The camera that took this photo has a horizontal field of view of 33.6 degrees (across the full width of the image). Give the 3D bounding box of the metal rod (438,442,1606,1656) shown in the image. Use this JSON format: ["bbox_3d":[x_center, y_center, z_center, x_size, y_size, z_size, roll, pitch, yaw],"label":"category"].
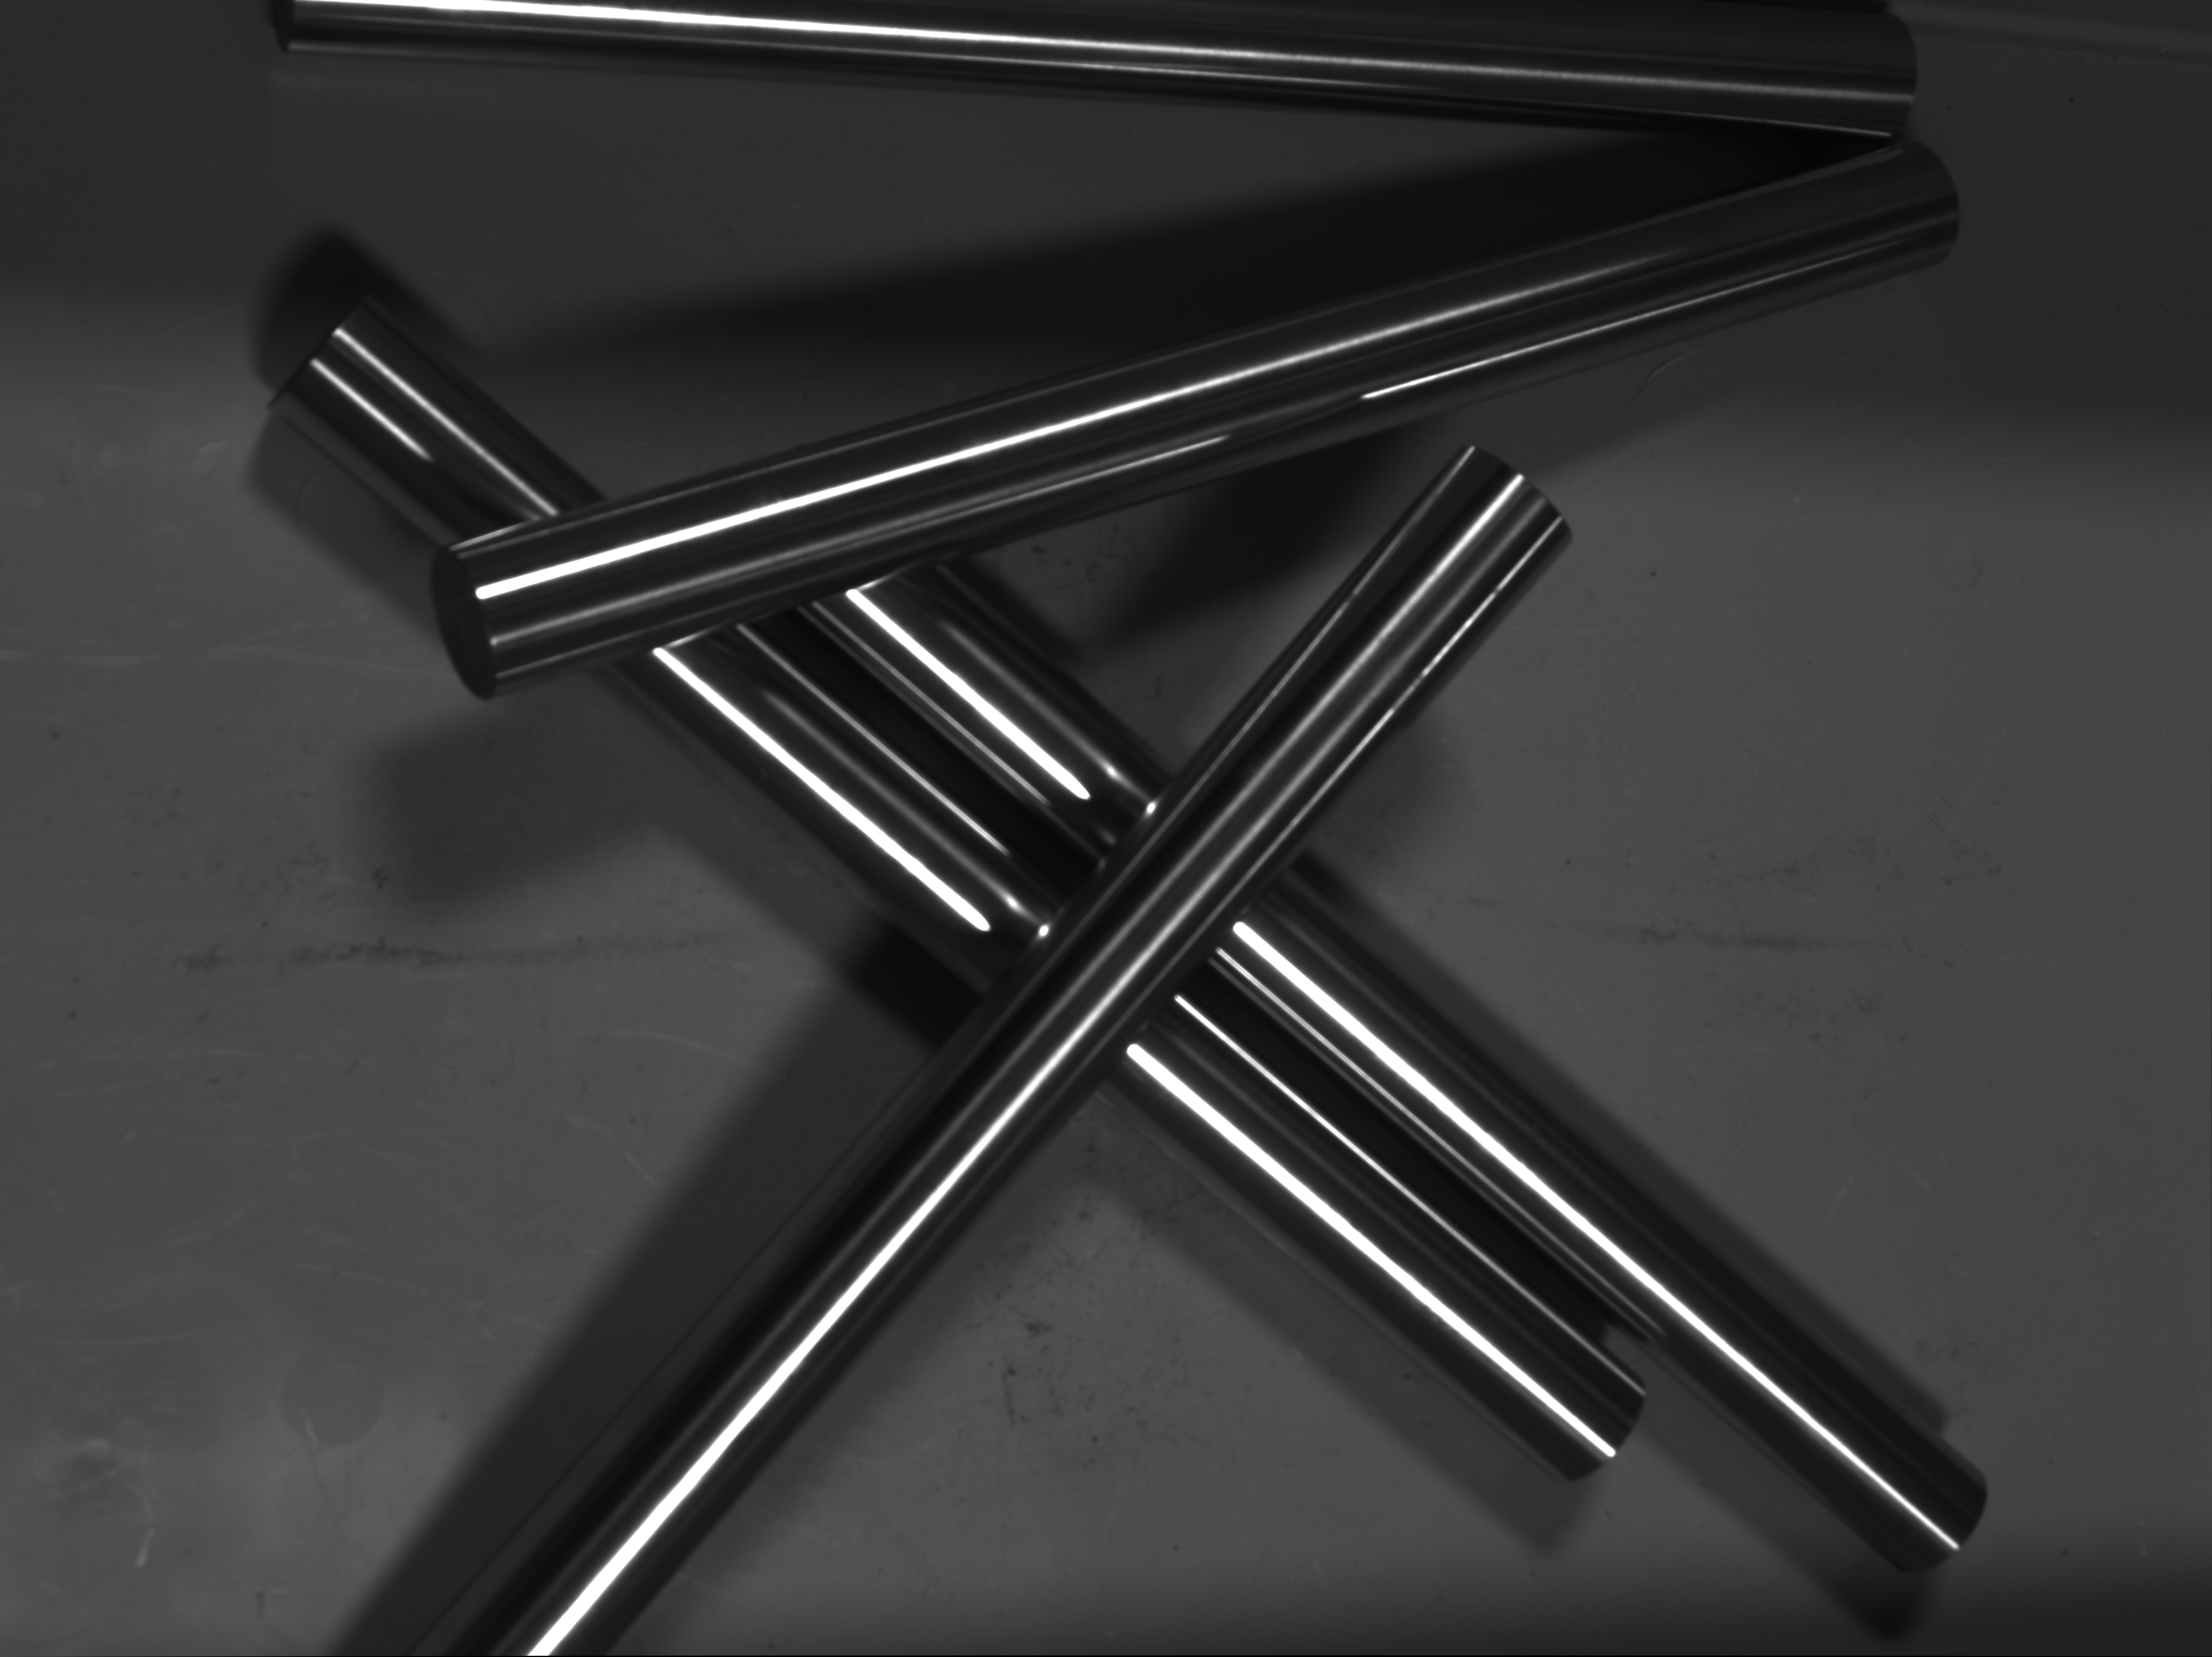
[{"bbox_3d":[-0.022,0.055,0.613,0.025,0.025,0.300,43,84,-15],"label":"metal rod"}]

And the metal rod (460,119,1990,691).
[{"bbox_3d":[0.032,-0.079,0.638,0.301,0.025,0.025,-19,96,-25],"label":"metal rod"}]

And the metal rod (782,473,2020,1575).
[{"bbox_3d":[0.056,0.039,0.663,0.300,0.025,0.025,41,77,-15],"label":"metal rod"}]

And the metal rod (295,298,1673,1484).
[{"bbox_3d":[-0.014,0.017,0.638,0.300,0.025,0.025,41,77,-15],"label":"metal rod"}]

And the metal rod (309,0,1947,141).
[{"bbox_3d":[0.012,-0.141,0.647,0.301,0.025,0.025,-1,90,-20],"label":"metal rod"}]
